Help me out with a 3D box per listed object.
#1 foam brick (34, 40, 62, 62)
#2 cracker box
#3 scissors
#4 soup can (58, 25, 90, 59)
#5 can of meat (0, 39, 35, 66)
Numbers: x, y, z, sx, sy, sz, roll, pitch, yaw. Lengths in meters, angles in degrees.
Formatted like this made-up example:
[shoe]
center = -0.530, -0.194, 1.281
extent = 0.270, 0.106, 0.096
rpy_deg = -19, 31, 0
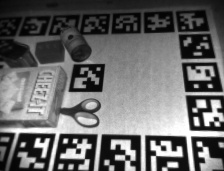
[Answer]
[foam brick]
center = -0.207, -0.116, 0.697
extent = 0.078, 0.052, 0.052
rpy_deg = -10, 63, 1
[cracker box]
center = -0.262, 0.025, 0.601
extent = 0.213, 0.072, 0.163
rpy_deg = -7, 61, 7
[scissors]
center = -0.146, 0.069, 0.600
extent = 0.202, 0.016, 0.087
rpy_deg = -5, 63, 4
[soup can]
center = -0.125, -0.142, 0.700
extent = 0.068, 0.068, 0.101
rpy_deg = -34, 59, -10
[can of meat]
center = -0.306, -0.095, 0.675
extent = 0.101, 0.084, 0.058
rpy_deg = 12, 65, 12
